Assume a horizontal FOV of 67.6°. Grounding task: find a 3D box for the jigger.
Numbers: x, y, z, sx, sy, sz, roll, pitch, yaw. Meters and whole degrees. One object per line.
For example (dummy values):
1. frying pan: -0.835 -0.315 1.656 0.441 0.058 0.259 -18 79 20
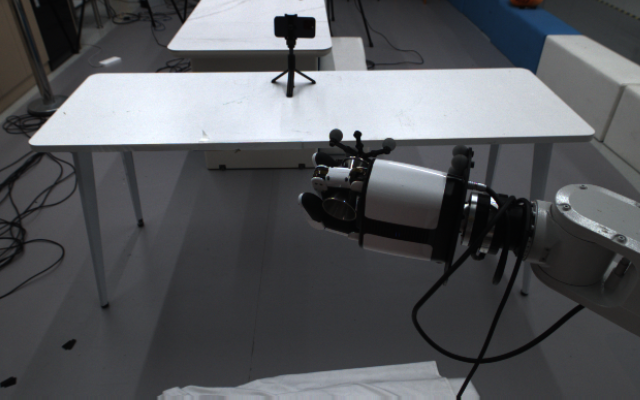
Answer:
1. jigger: 0.037 -0.014 0.586 0.043 0.043 0.071 13 58 16
